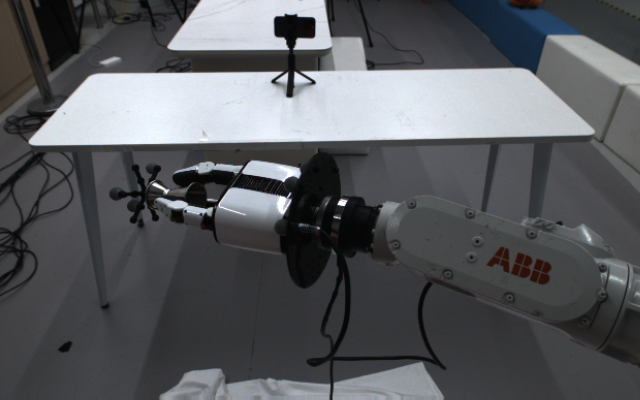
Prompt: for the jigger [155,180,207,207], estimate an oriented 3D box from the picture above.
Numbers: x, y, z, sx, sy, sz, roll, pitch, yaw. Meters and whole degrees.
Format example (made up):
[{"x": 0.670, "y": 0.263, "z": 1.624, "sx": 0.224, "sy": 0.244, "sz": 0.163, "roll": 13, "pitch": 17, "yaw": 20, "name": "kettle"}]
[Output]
[{"x": -0.181, "y": -0.010, "z": 0.637, "sx": 0.071, "sy": 0.043, "sz": 0.043, "roll": 4, "pitch": 33, "yaw": 23, "name": "jigger"}]
